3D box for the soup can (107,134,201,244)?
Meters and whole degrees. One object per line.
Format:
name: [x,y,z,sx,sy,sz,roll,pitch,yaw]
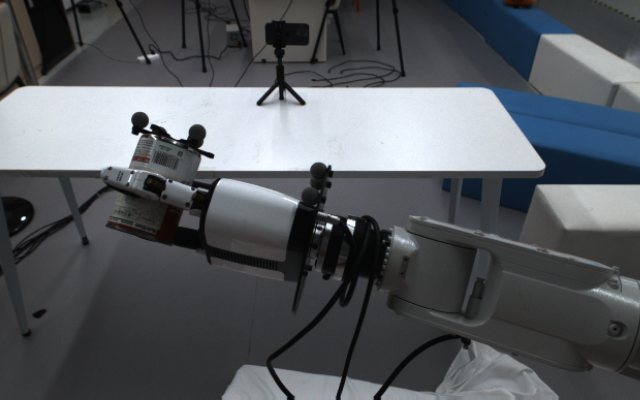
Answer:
soup can: [-0.171,-0.009,0.508,0.067,0.067,0.101,13,78,16]
